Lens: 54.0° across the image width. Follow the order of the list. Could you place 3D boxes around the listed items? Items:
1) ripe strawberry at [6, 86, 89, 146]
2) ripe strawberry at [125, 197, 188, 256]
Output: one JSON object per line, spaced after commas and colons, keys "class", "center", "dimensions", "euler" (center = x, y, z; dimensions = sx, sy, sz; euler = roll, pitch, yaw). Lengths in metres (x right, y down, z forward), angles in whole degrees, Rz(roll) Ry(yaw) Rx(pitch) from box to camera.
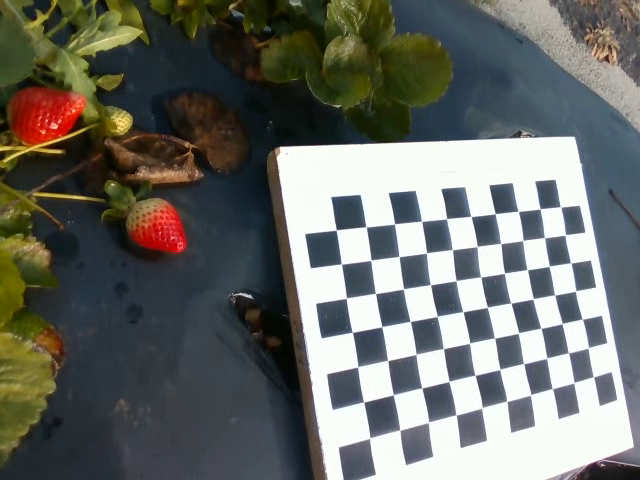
{"class": "ripe strawberry", "center": [-0.155, -0.074, 0.352], "dimensions": [0.048, 0.040, 0.031], "euler": [-21, 1, 14]}
{"class": "ripe strawberry", "center": [-0.098, -0.007, 0.372], "dimensions": [0.035, 0.043, 0.029], "euler": [-48, 9, -25]}
